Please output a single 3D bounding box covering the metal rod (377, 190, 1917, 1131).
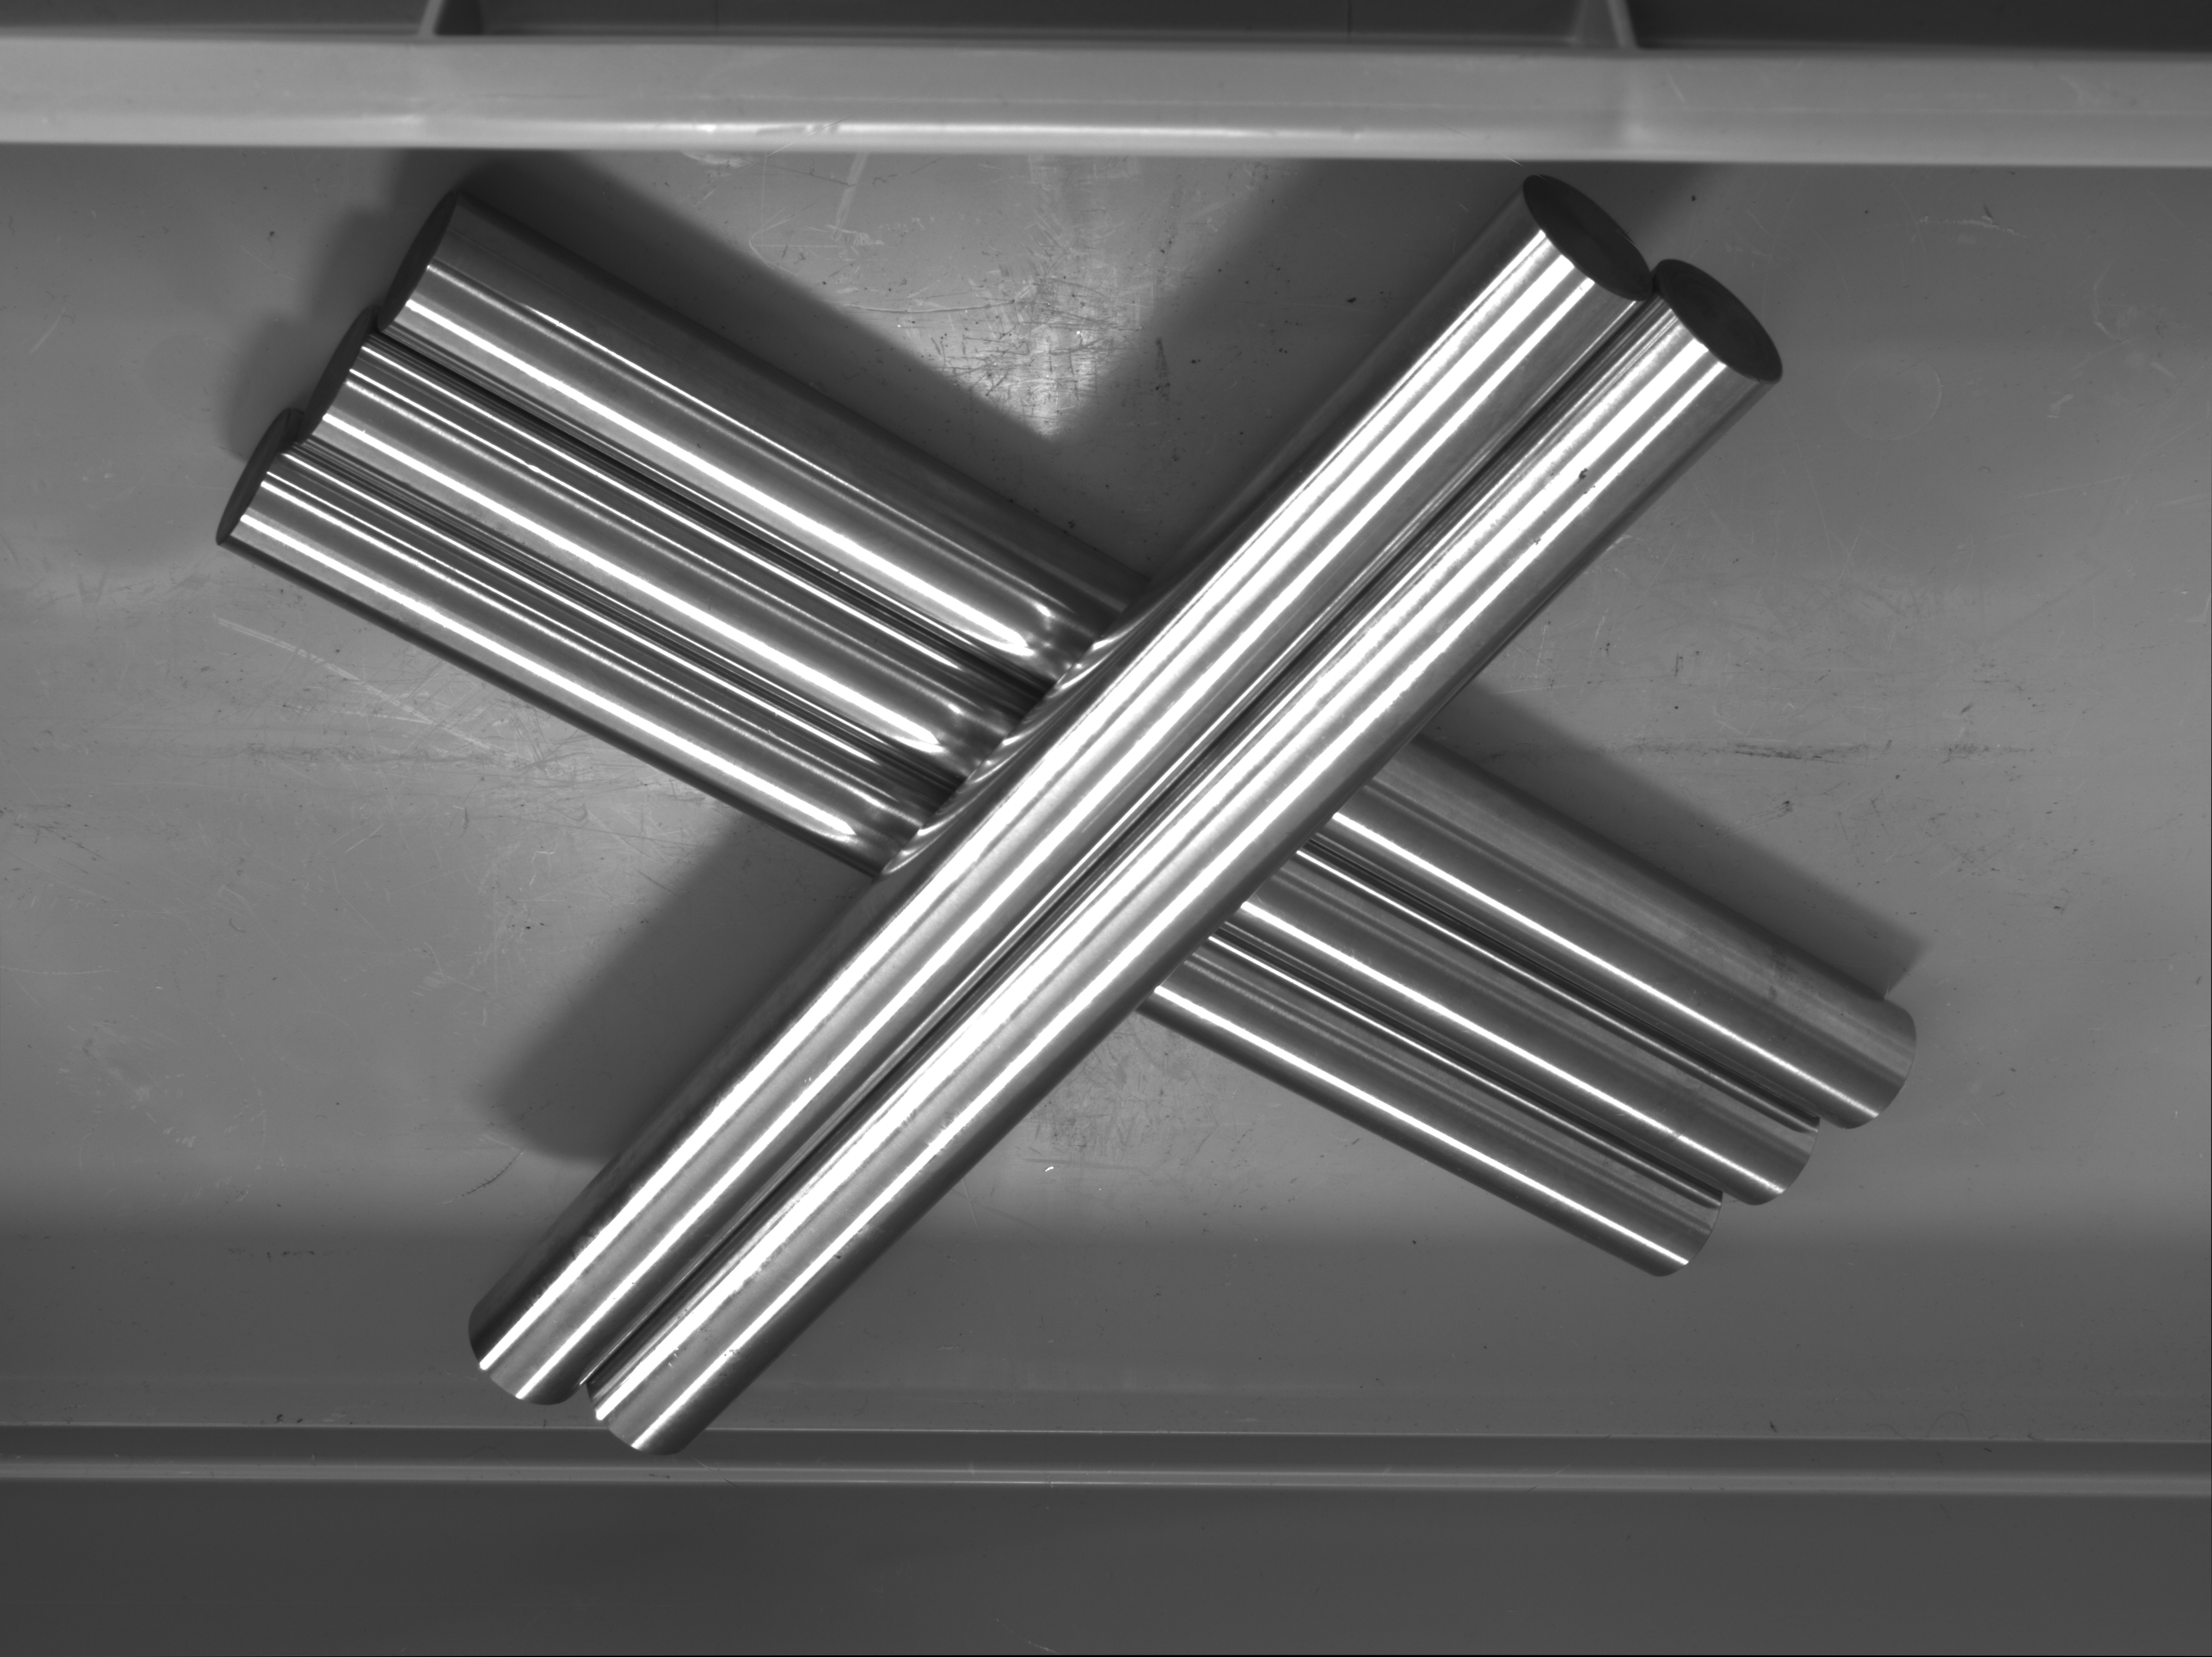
[{"bbox_3d":[0.017,-0.021,0.620,0.301,0.025,0.025,28,125,-22],"label":"metal rod"}]

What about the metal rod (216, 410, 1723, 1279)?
[{"bbox_3d":[-0.014,0.009,0.645,0.301,0.025,0.025,28,125,-22],"label":"metal rod"}]

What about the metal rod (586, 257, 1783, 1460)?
[{"bbox_3d":[0.001,0.017,0.619,0.025,0.025,0.299,30,124,-23],"label":"metal rod"}]

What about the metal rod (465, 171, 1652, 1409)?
[{"bbox_3d":[-0.020,0.006,0.610,0.025,0.025,0.299,30,124,-23],"label":"metal rod"}]

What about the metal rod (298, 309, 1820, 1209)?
[{"bbox_3d":[0.002,-0.005,0.633,0.301,0.025,0.025,28,125,-22],"label":"metal rod"}]
